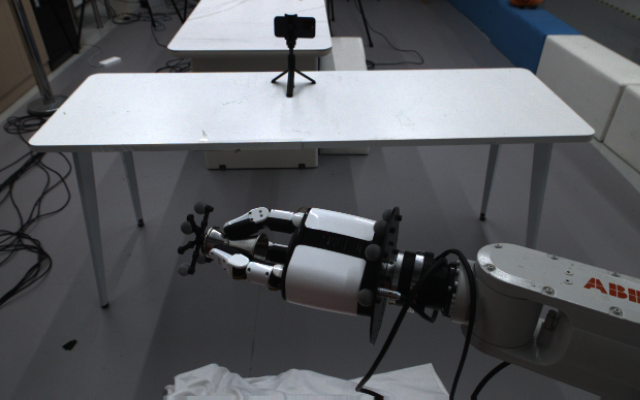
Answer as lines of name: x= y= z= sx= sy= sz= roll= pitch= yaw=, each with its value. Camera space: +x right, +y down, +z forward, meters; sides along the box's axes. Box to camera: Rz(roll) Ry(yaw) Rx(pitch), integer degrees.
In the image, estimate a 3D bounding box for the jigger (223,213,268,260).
jigger: x=-0.097 y=0.054 z=0.596 sx=0.071 sy=0.043 sz=0.043 roll=8 pitch=35 yaw=17
